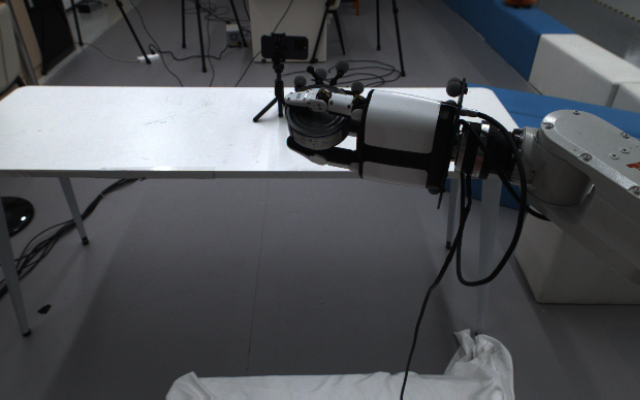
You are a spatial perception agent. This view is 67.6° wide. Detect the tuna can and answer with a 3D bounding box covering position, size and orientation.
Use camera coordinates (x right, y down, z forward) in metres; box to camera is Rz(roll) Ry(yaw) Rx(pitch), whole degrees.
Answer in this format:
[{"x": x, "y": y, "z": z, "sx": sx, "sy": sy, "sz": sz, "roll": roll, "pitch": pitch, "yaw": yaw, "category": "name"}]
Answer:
[{"x": -0.002, "y": -0.109, "z": 0.627, "sx": 0.085, "sy": 0.034, "sz": 0.085, "roll": -2, "pitch": 58, "yaw": 3, "category": "tuna can"}]
